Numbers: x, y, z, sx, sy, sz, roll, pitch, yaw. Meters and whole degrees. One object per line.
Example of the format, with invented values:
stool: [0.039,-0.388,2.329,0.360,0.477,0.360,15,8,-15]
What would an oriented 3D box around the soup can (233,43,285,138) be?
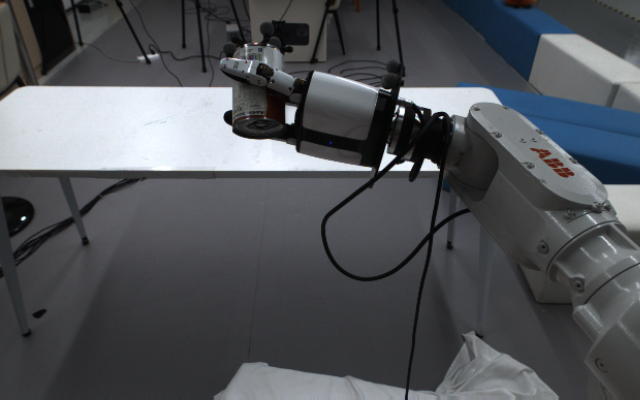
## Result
soup can: [-0.076,-0.136,0.611,0.067,0.067,0.101,-2,77,-6]
